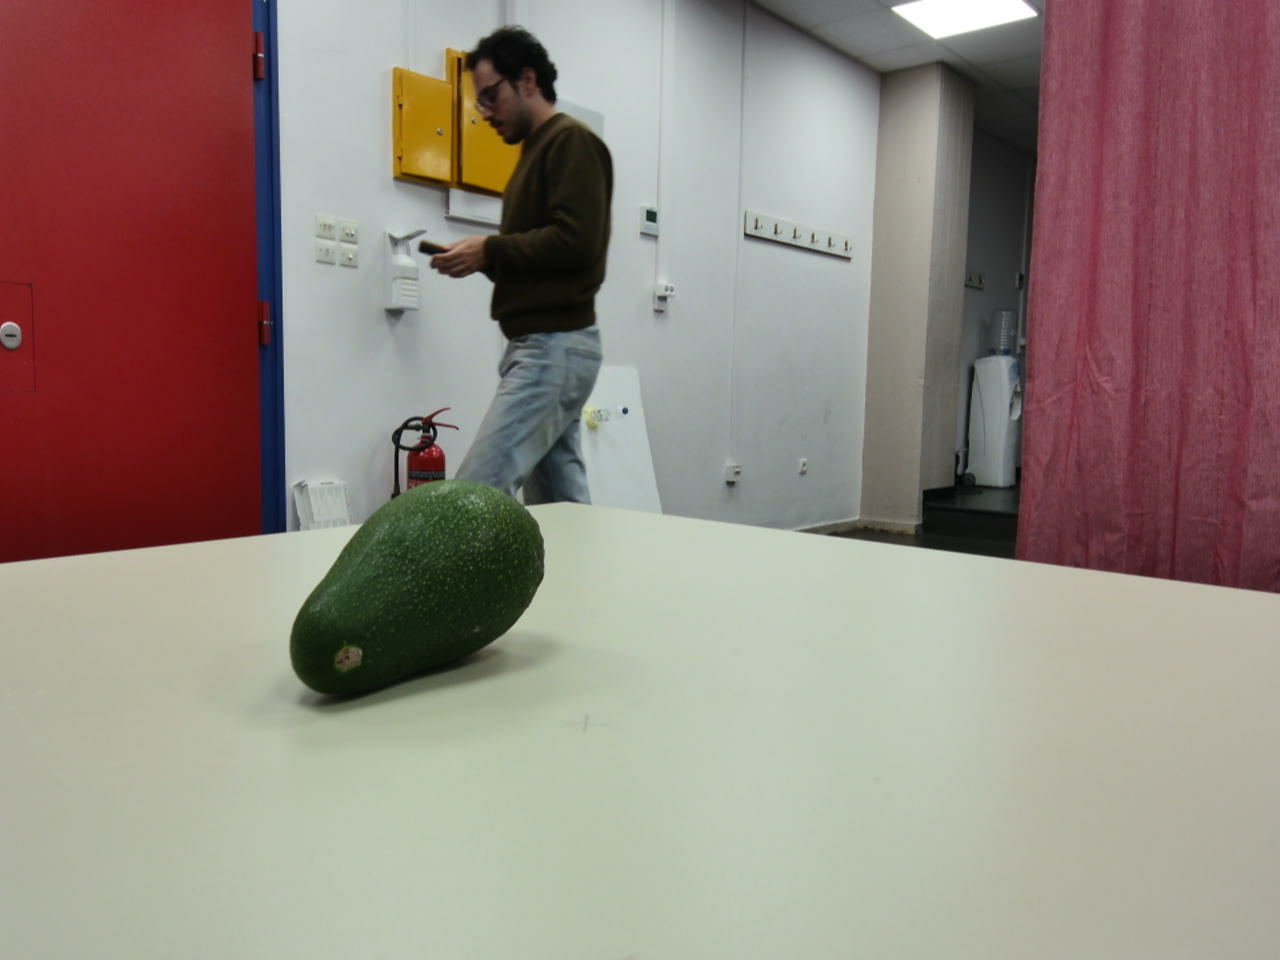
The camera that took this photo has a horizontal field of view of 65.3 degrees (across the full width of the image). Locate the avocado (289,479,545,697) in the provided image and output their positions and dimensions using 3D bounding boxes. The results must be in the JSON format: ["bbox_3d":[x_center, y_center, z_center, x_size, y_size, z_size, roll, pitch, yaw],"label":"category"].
[{"bbox_3d":[-0.093,0.039,0.411,0.123,0.076,0.074,-2,5,-44],"label":"avocado"}]
